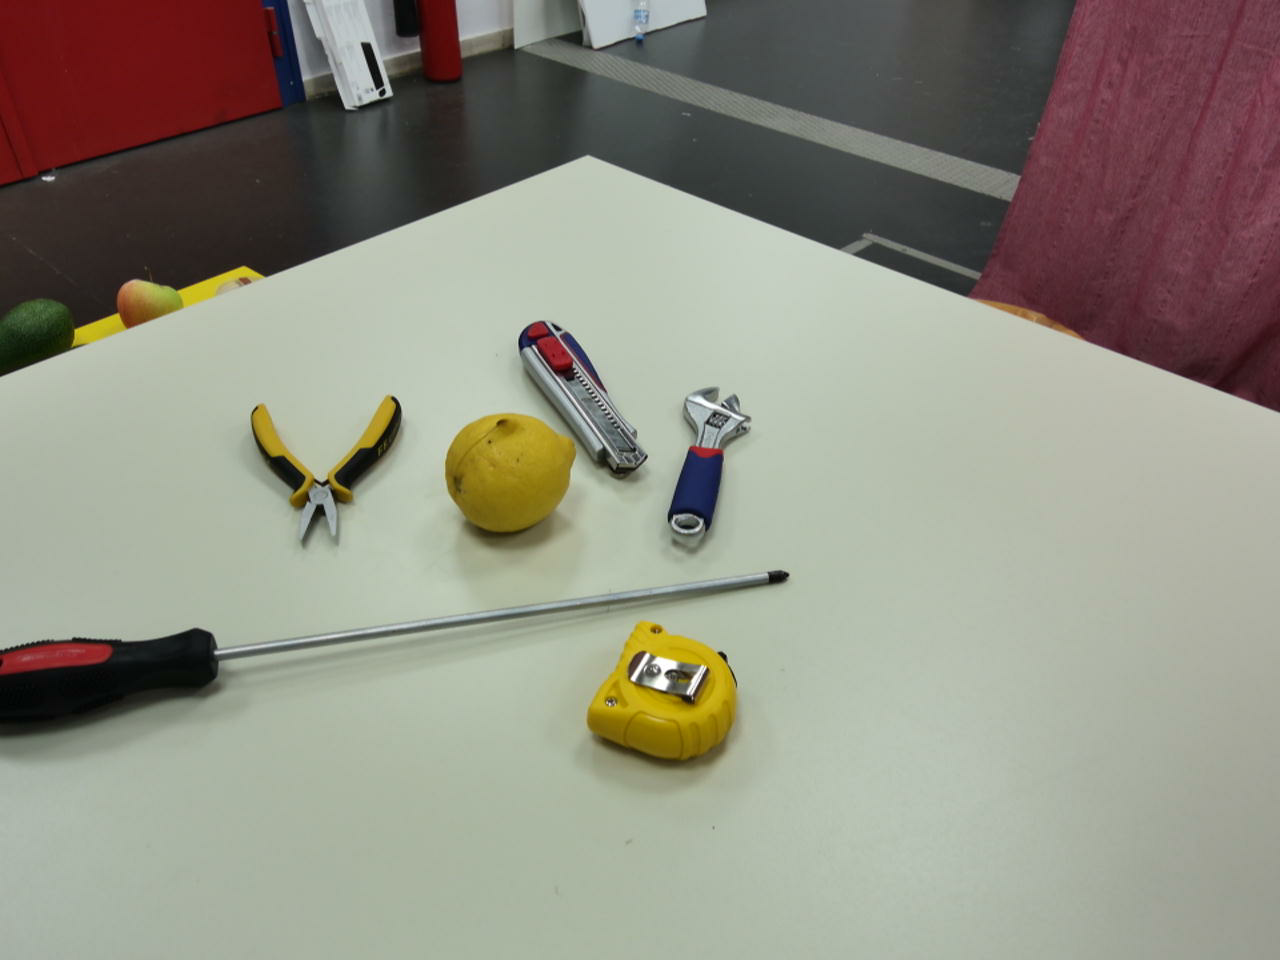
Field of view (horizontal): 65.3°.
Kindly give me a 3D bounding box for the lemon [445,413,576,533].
[{"bbox_3d":[-0.076,-0.007,0.573,0.071,0.071,0.070,5,38,5],"label":"lemon"}]
